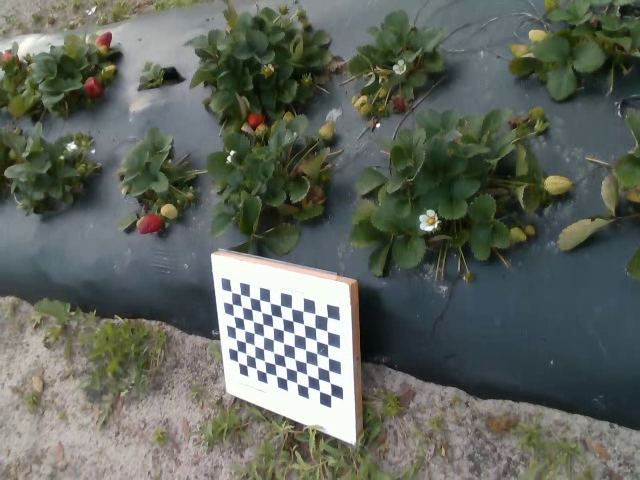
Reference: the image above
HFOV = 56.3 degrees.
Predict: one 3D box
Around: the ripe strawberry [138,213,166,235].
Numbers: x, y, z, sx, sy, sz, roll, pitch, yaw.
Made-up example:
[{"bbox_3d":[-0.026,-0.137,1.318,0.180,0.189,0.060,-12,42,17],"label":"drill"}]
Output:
[{"bbox_3d":[-0.354,-0.027,1.221,0.046,0.045,0.059,4,39,39],"label":"ripe strawberry"}]
